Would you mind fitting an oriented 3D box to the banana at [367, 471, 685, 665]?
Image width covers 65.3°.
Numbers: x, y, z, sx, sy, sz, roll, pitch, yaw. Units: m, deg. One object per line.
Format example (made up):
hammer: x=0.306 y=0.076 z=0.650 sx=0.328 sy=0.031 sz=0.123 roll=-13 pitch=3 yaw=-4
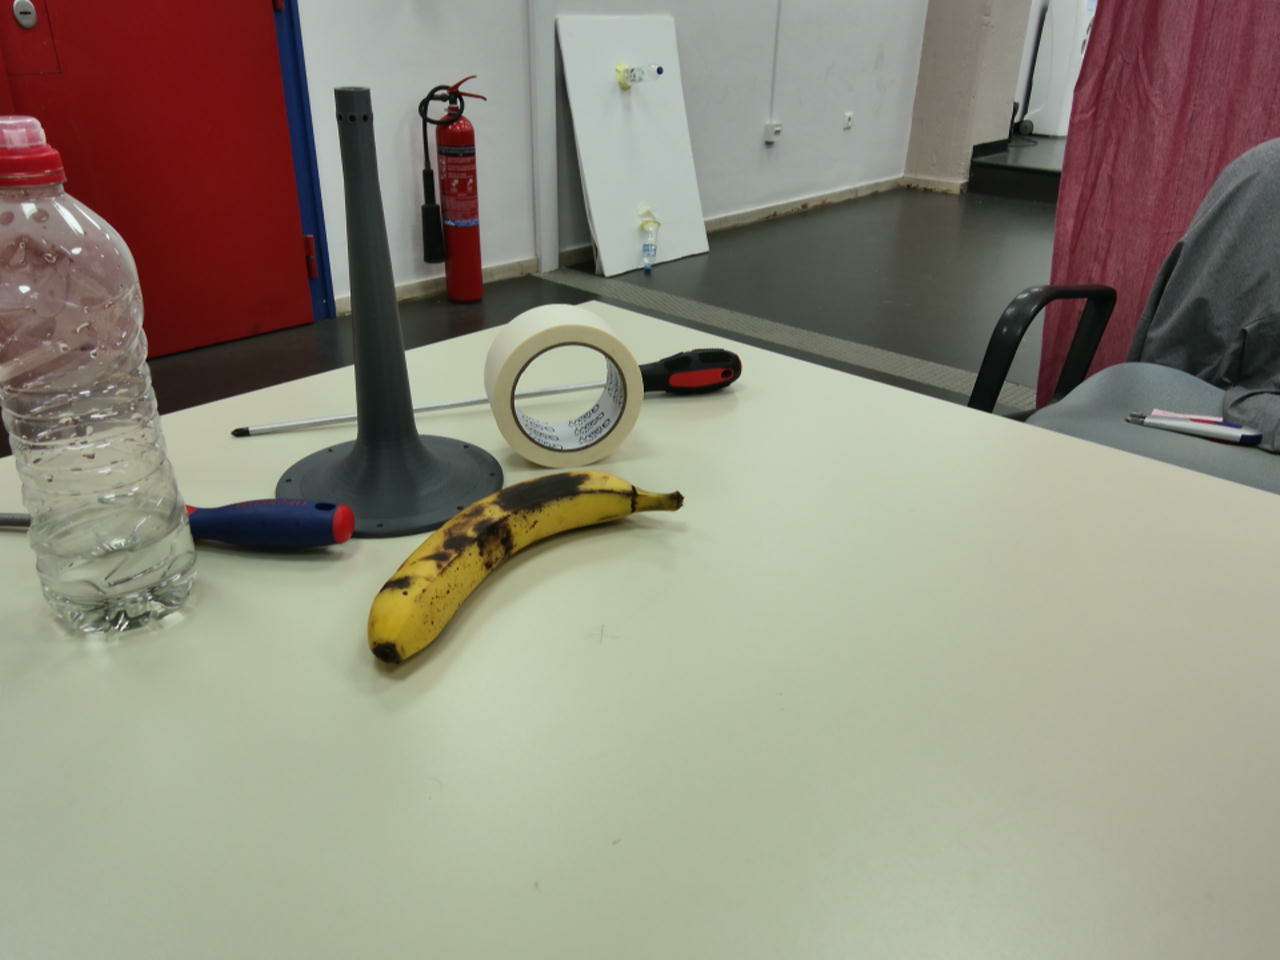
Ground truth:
banana: x=-0.075 y=0.036 z=0.569 sx=0.084 sy=0.037 sz=0.222 roll=22 pitch=32 yaw=37
